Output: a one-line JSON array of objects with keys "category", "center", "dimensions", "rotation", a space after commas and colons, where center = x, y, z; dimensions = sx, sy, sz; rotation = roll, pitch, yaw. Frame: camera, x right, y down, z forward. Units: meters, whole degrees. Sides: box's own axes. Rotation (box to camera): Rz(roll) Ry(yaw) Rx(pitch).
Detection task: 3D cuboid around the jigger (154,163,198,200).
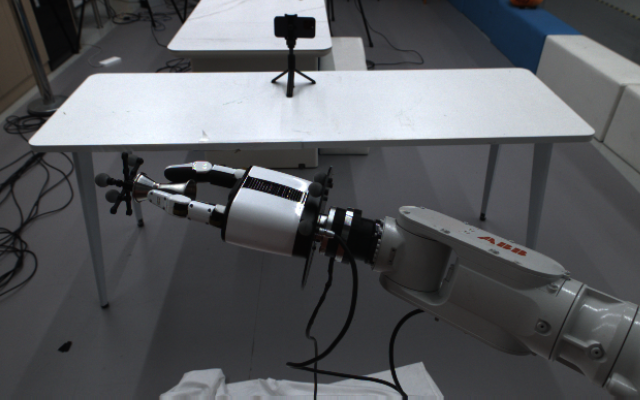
[{"category": "jigger", "center": [-0.190, -0.015, 0.622], "dimensions": [0.071, 0.043, 0.043], "rotation": [9, 35, 5]}]
